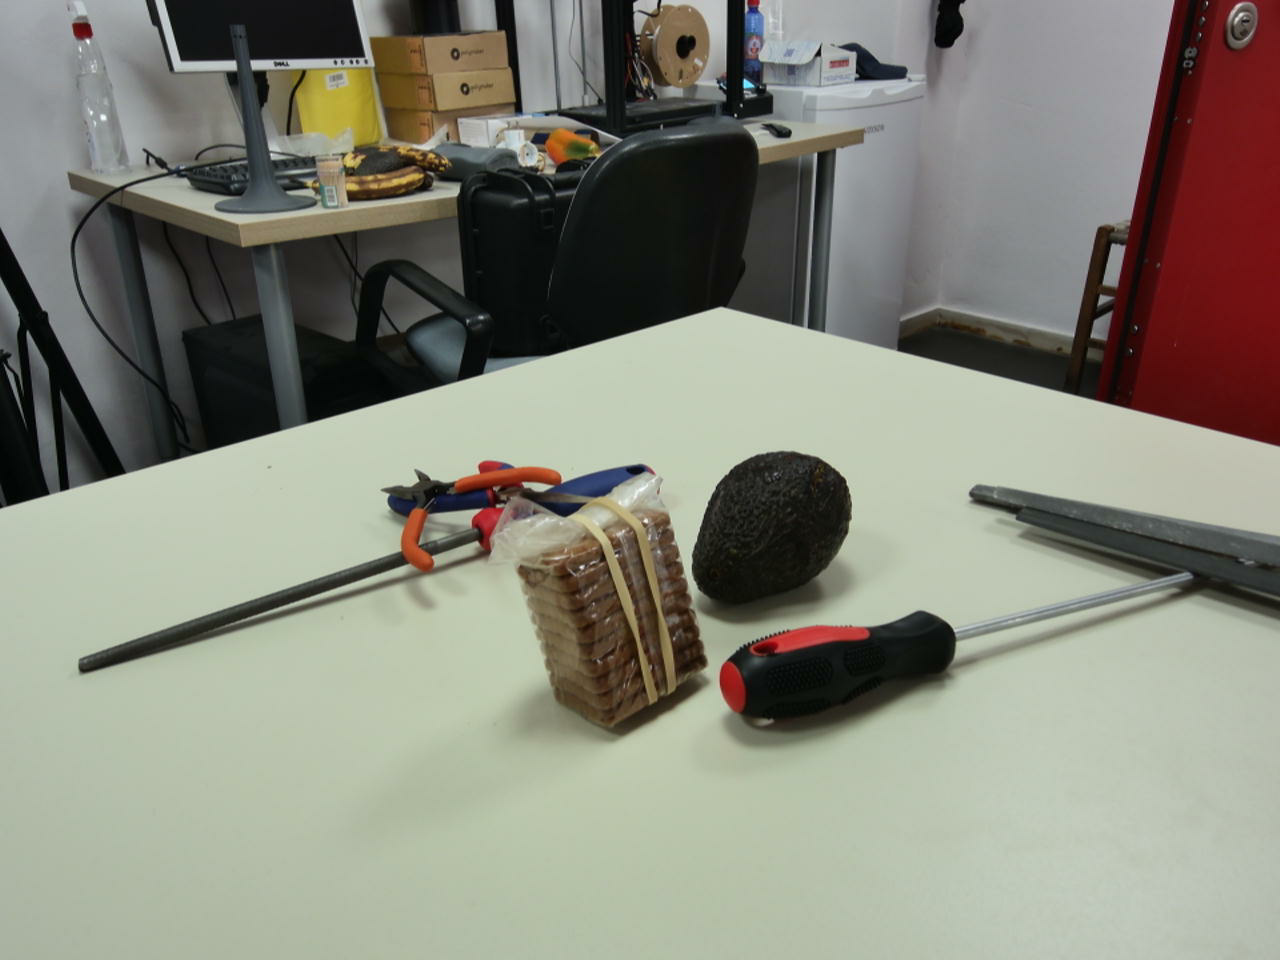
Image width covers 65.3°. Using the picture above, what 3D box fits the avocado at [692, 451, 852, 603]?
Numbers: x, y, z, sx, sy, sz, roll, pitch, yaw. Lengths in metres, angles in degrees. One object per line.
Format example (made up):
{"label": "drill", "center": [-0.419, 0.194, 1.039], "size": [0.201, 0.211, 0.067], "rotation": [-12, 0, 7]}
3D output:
{"label": "avocado", "center": [0.066, 0.021, 0.516], "size": [0.090, 0.069, 0.070], "rotation": [-6, 24, -15]}
